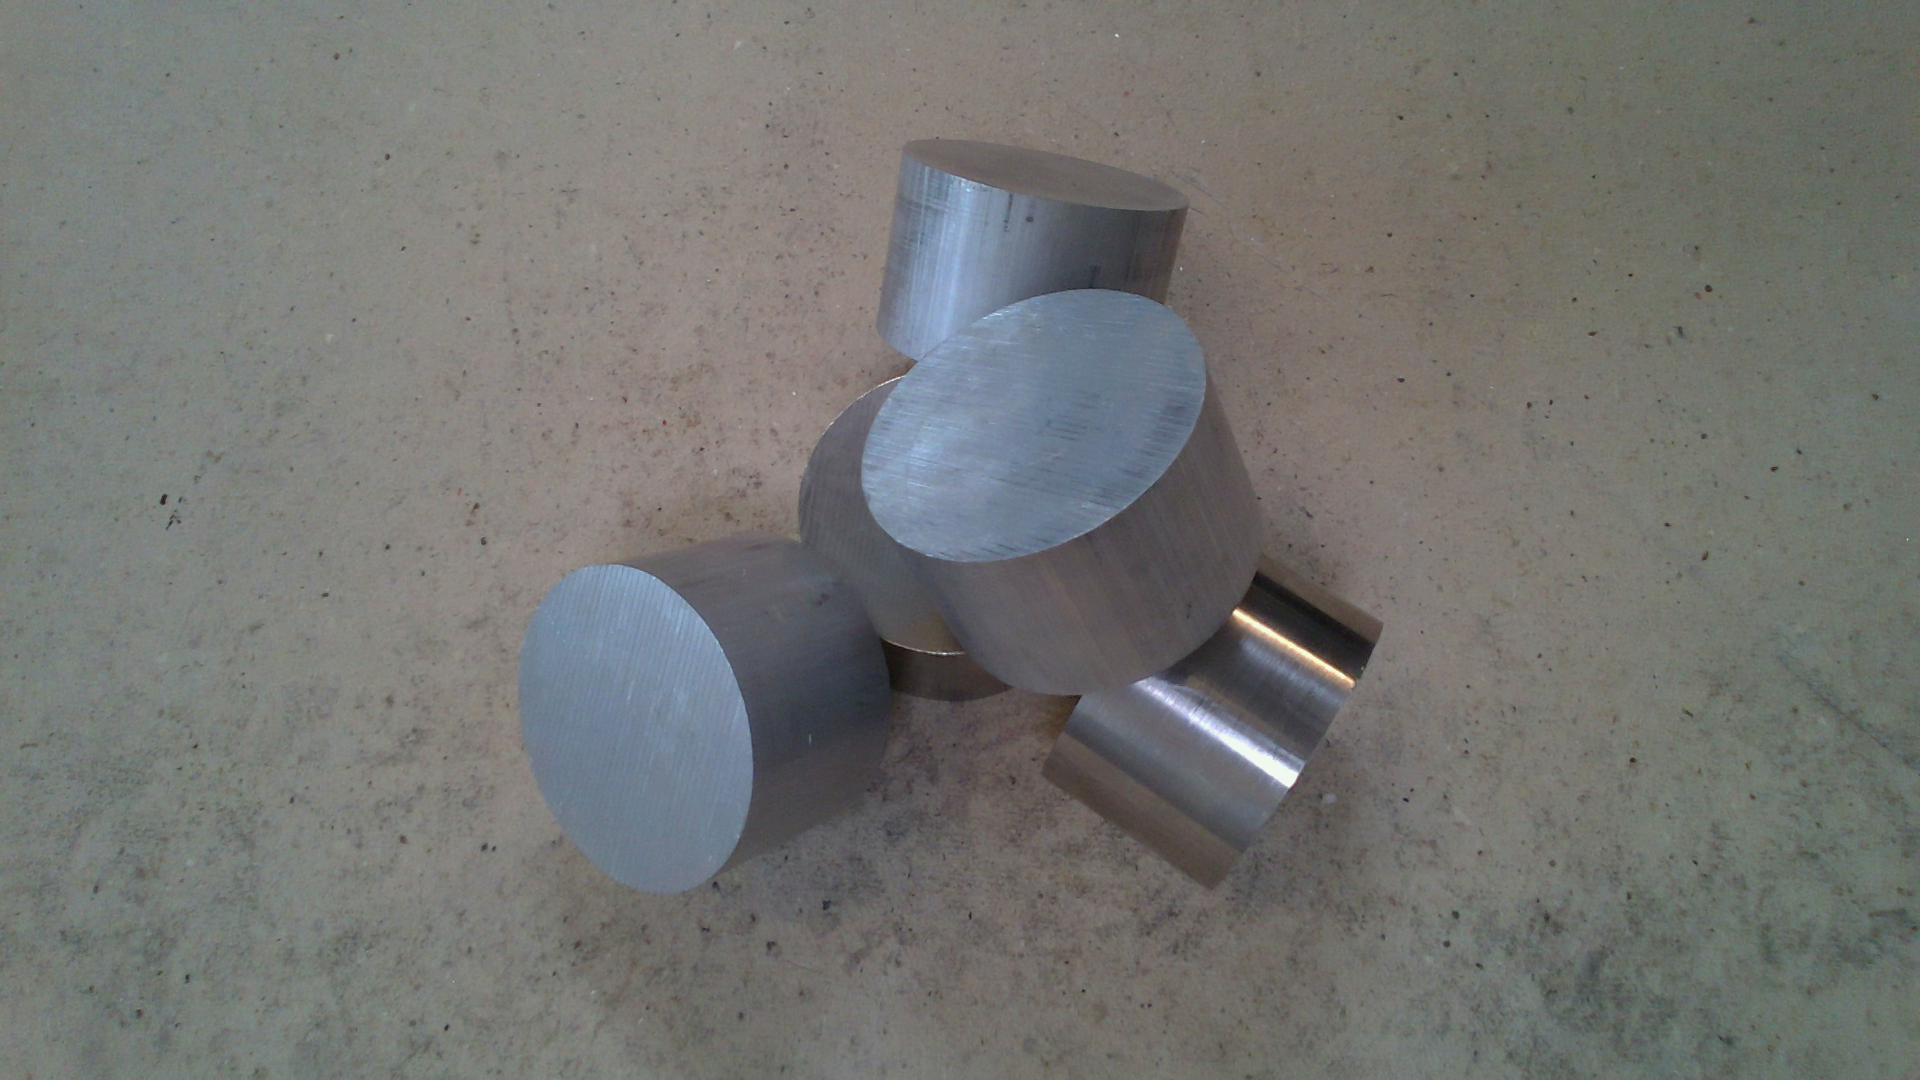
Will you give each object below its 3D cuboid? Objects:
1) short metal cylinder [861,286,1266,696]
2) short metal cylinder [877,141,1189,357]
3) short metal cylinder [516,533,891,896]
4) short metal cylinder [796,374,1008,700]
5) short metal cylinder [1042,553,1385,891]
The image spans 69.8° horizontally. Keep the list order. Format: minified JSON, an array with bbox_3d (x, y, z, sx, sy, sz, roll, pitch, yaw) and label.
[{"bbox_3d":[0.024,-0.012,0.315,0.080,0.050,0.080,-15,46,17],"label":"short metal cylinder"},{"bbox_3d":[0.019,-0.079,0.388,0.080,0.080,0.050,13,114,5],"label":"short metal cylinder"},{"bbox_3d":[-0.064,0.041,0.344,0.080,0.050,0.080,7,102,34],"label":"short metal cylinder"},{"bbox_3d":[-0.003,-0.001,0.381,0.080,0.050,0.080,0,69,0],"label":"short metal cylinder"},{"bbox_3d":[0.064,0.041,0.350,0.050,0.080,0.080,33,73,11],"label":"short metal cylinder"}]
